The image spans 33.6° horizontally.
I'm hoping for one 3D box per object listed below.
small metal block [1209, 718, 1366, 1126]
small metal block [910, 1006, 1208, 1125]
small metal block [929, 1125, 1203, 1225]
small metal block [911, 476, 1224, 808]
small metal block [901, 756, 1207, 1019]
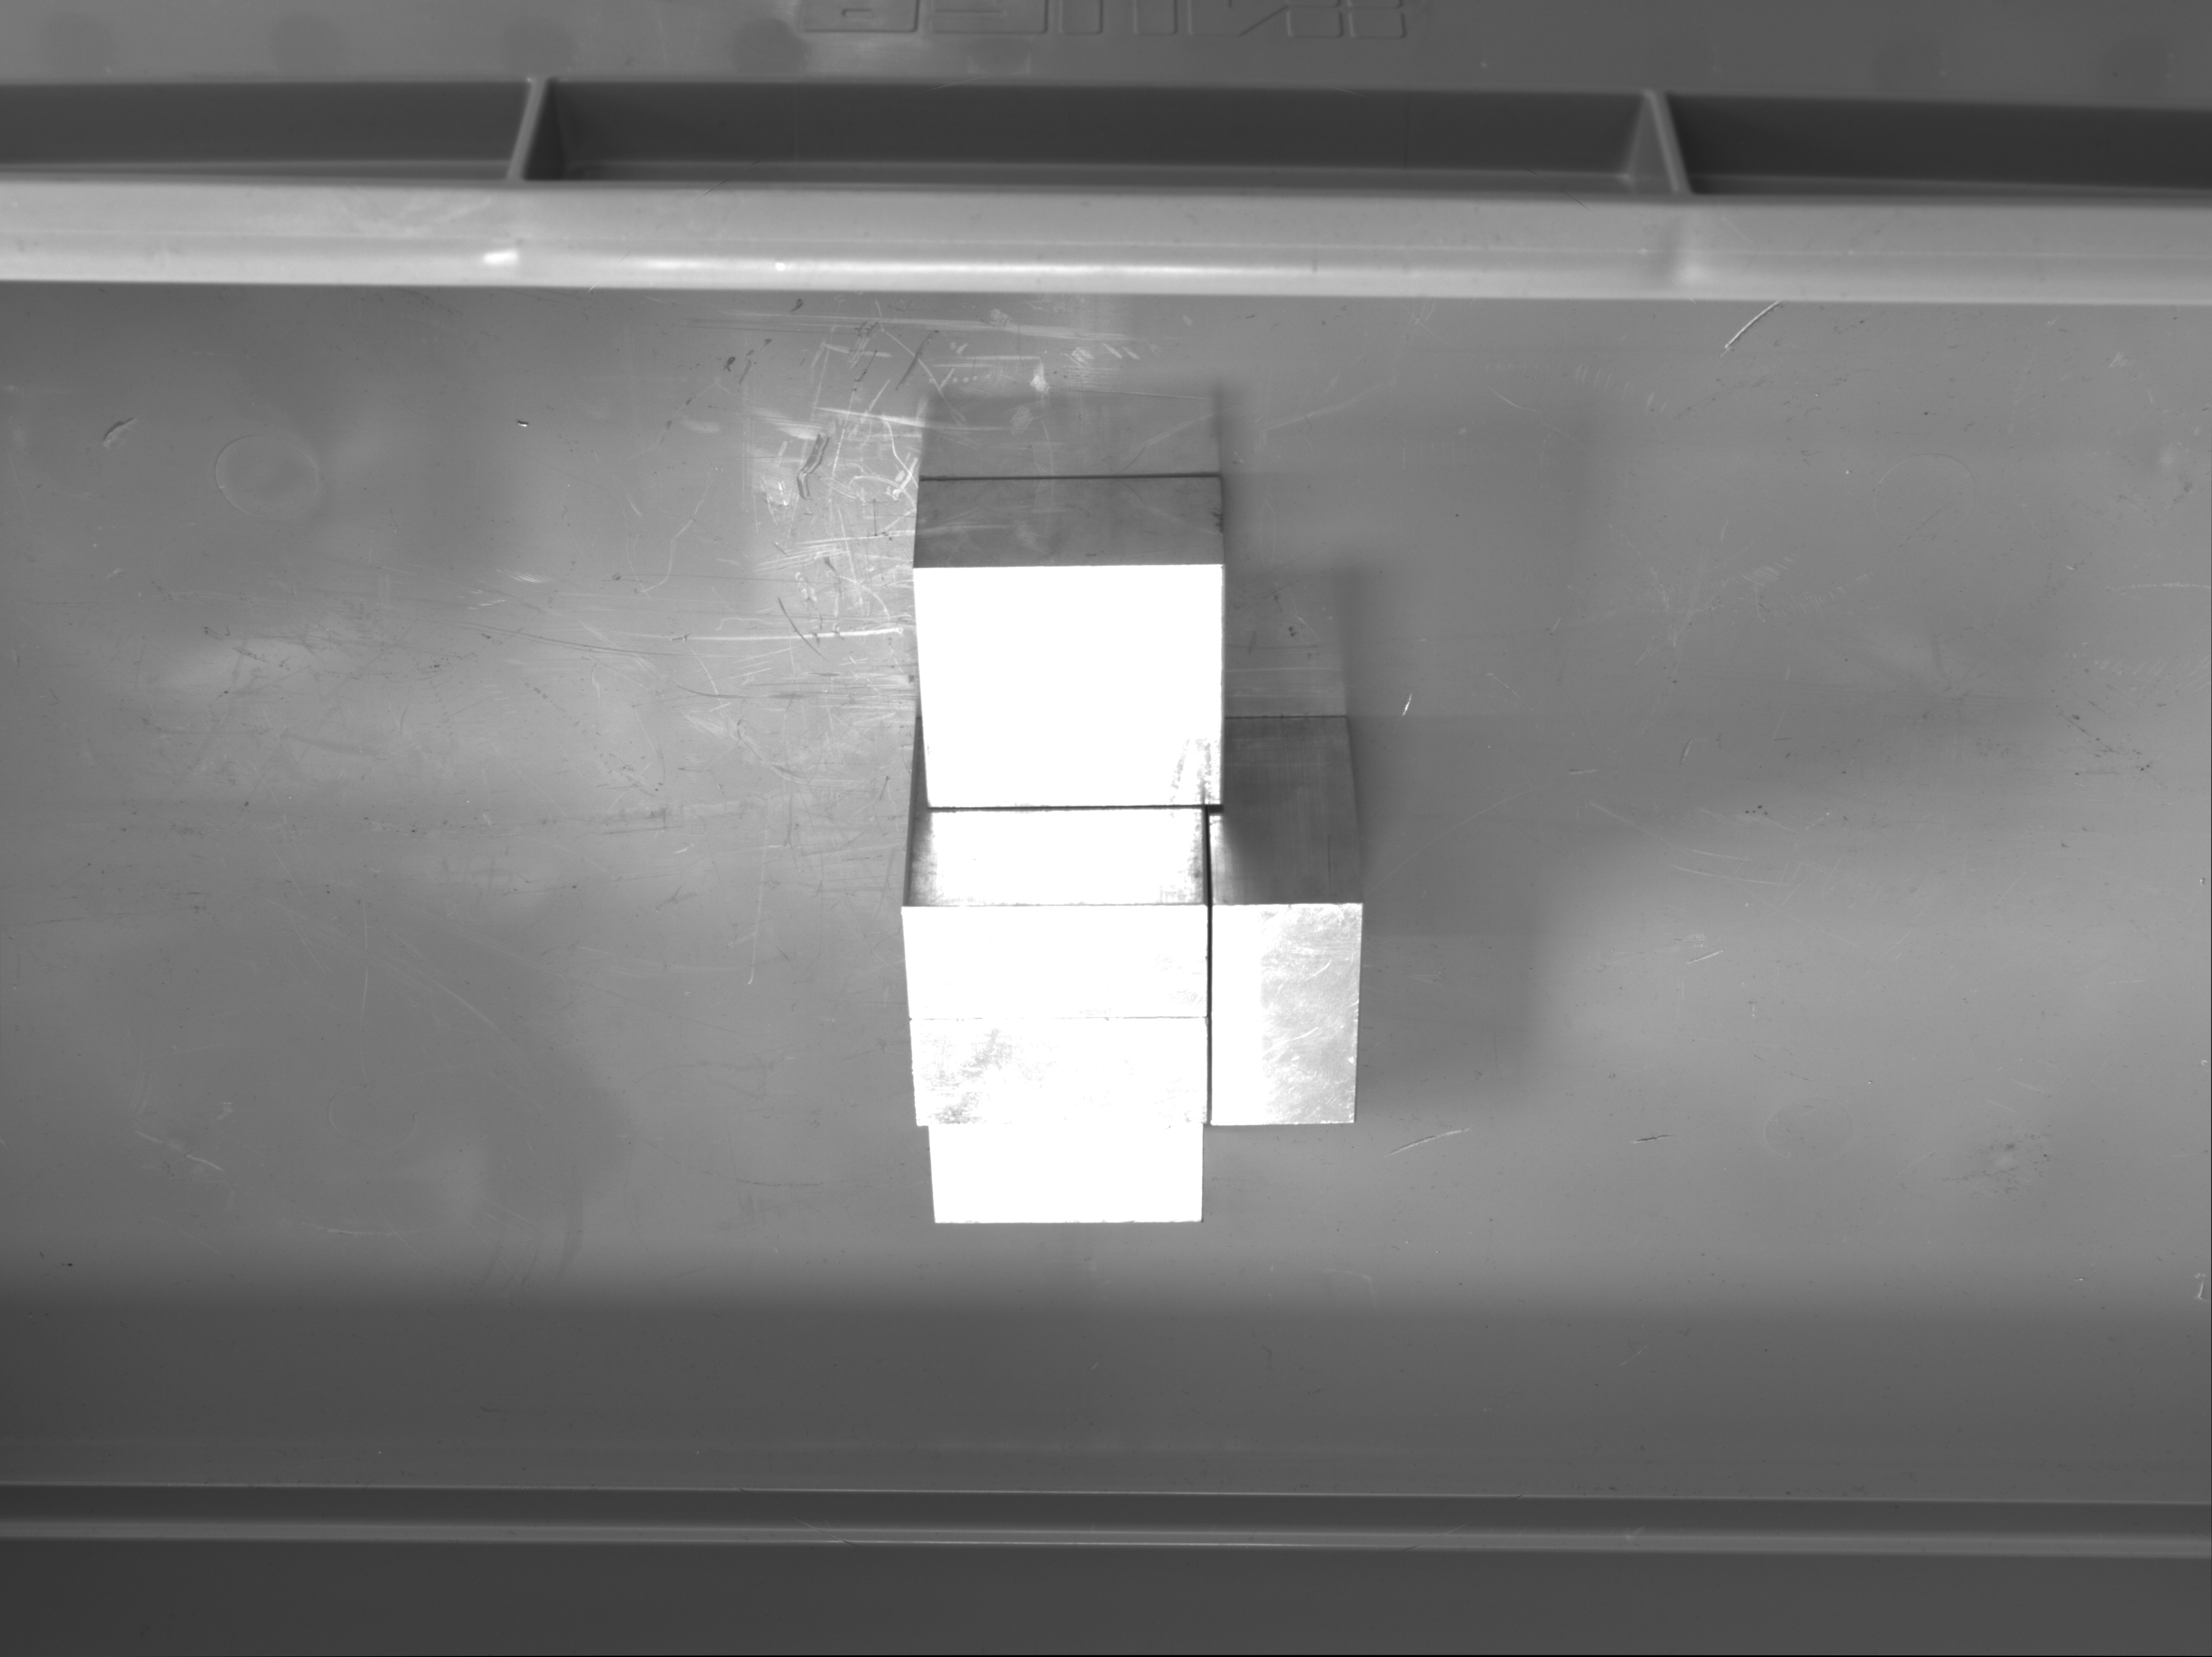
[{"bbox_3d":[0.030,0.016,0.635,0.025,0.050,0.050,0,130,0],"label":"small metal block"},{"bbox_3d":[-0.008,0.025,0.642,0.050,0.050,0.025,0,130,0],"label":"small metal block"},{"bbox_3d":[-0.007,0.046,0.676,0.050,0.025,0.050,0,130,0],"label":"small metal block"},{"bbox_3d":[-0.006,-0.031,0.611,0.050,0.025,0.050,0,130,0],"label":"small metal block"},{"bbox_3d":[-0.008,0.006,0.626,0.050,0.050,0.025,0,130,0],"label":"small metal block"}]
